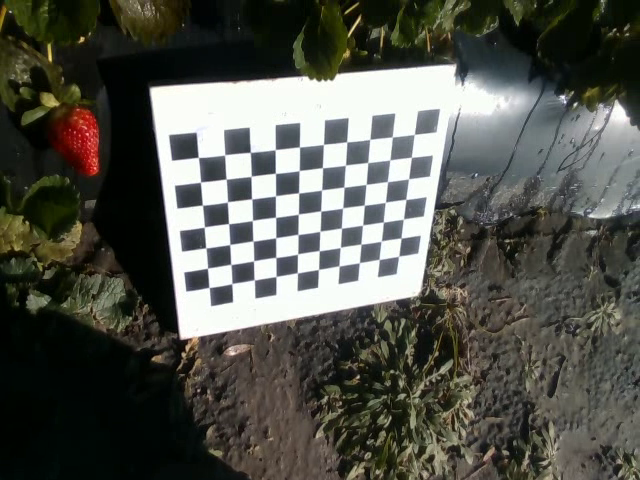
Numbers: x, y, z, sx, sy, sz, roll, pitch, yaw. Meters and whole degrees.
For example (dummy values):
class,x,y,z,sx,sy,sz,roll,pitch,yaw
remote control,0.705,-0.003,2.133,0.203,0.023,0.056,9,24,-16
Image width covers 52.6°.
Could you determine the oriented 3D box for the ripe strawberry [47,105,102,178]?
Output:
class,x,y,z,sx,sy,sz,roll,pitch,yaw
ripe strawberry,-0.201,-0.081,0.530,0.048,0.069,0.040,-23,29,-6
